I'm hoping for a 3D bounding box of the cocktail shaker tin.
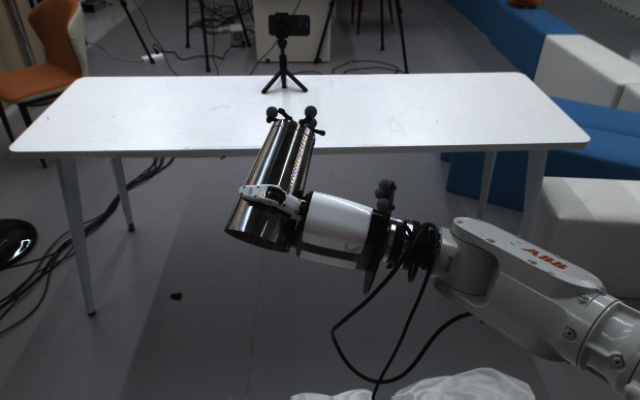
[{"bbox_3d":[-0.062,-0.022,0.675,0.093,0.093,0.170,13,73,15],"label":"cocktail shaker tin"}]
